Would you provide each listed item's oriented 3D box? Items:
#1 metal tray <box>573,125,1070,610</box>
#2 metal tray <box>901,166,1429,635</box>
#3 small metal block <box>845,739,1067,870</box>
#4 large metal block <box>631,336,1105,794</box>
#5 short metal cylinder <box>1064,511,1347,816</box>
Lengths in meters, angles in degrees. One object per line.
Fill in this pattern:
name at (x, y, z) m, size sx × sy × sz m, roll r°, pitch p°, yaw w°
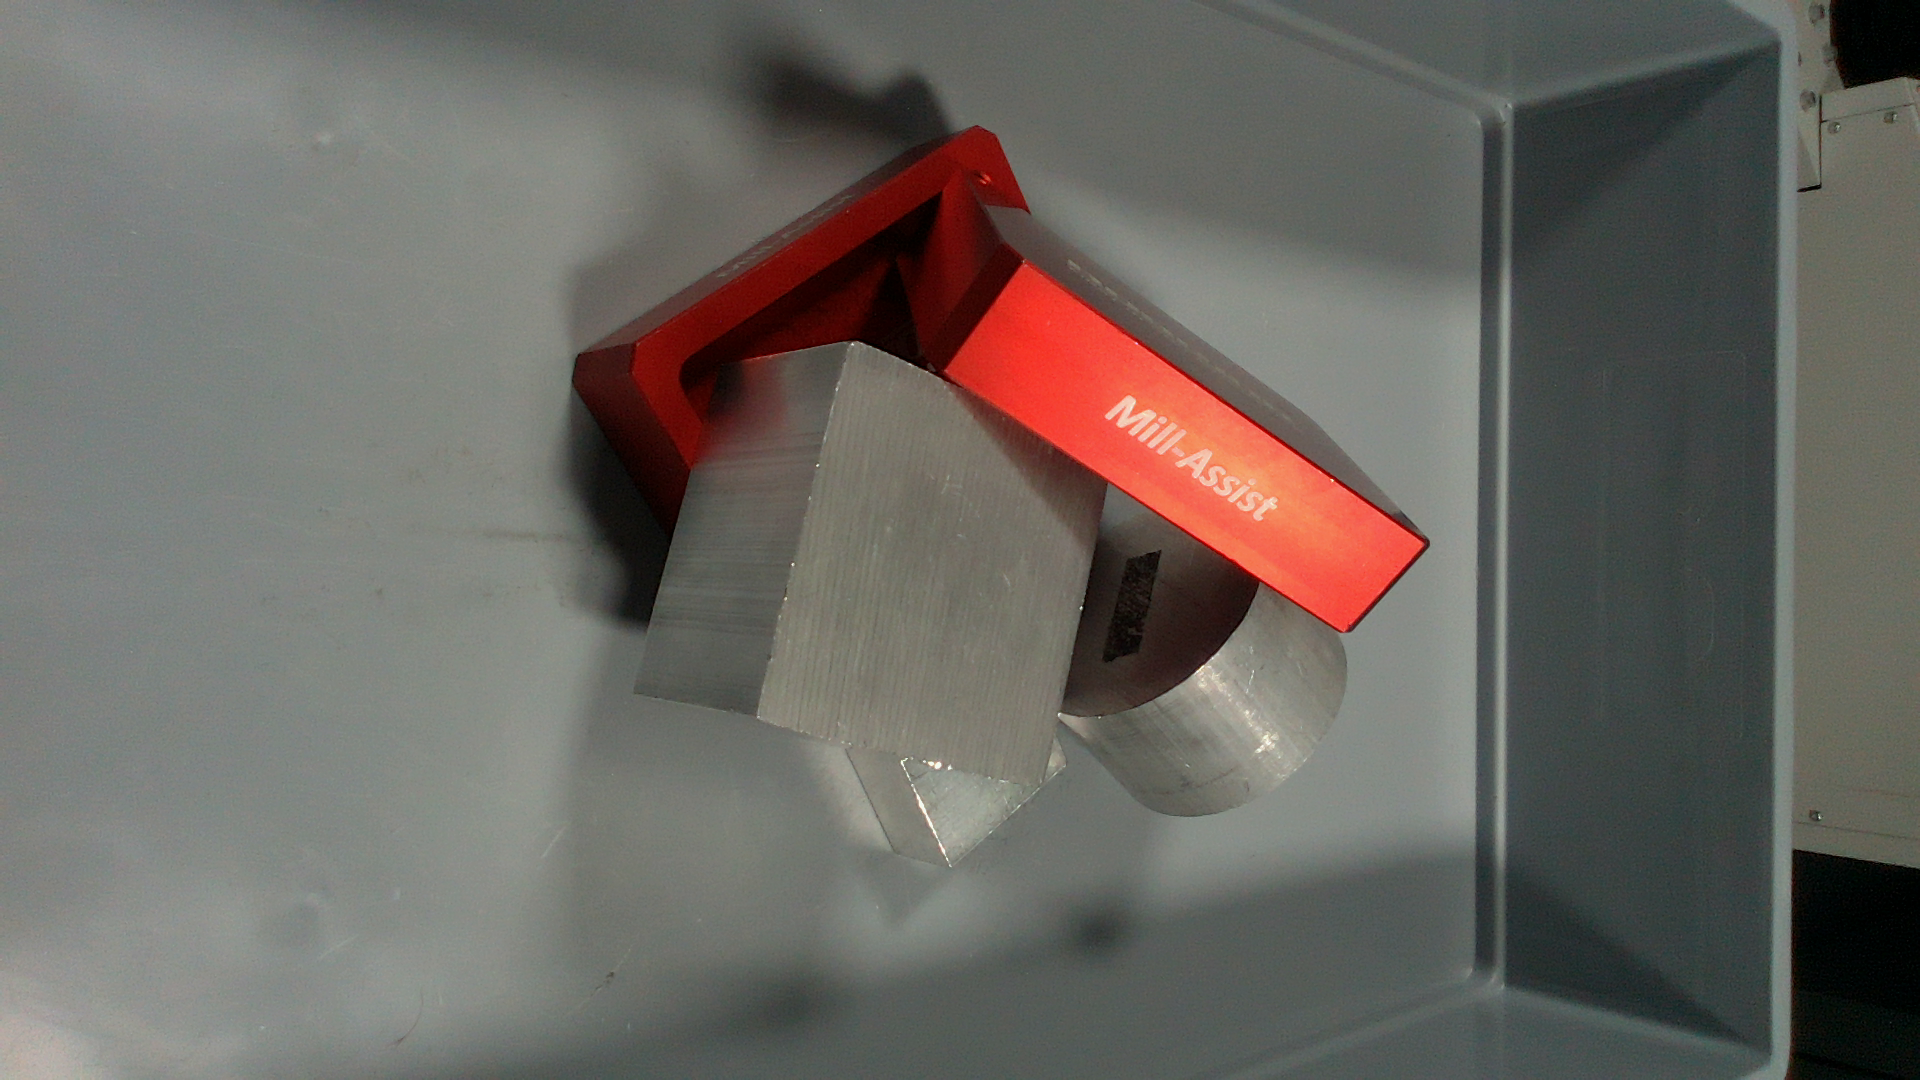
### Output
metal tray at (-0.024, -0.040, 0.364) m, size 0.130 × 0.030 × 0.090 m, roll -41°, pitch 115°, yaw -32°
metal tray at (0.049, -0.037, 0.348) m, size 0.130 × 0.090 × 0.030 m, roll 31°, pitch 109°, yaw -20°
small metal block at (-0.003, 0.055, 0.385) m, size 0.050 × 0.025 × 0.050 m, roll -36°, pitch 112°, yaw -34°
large metal block at (-0.018, 0.008, 0.315) m, size 0.080 × 0.050 × 0.080 m, roll 21°, pitch 77°, yaw -38°
short metal cylinder at (0.066, 0.034, 0.407) m, size 0.050 × 0.080 × 0.080 m, roll 47°, pitch 62°, yaw -30°
